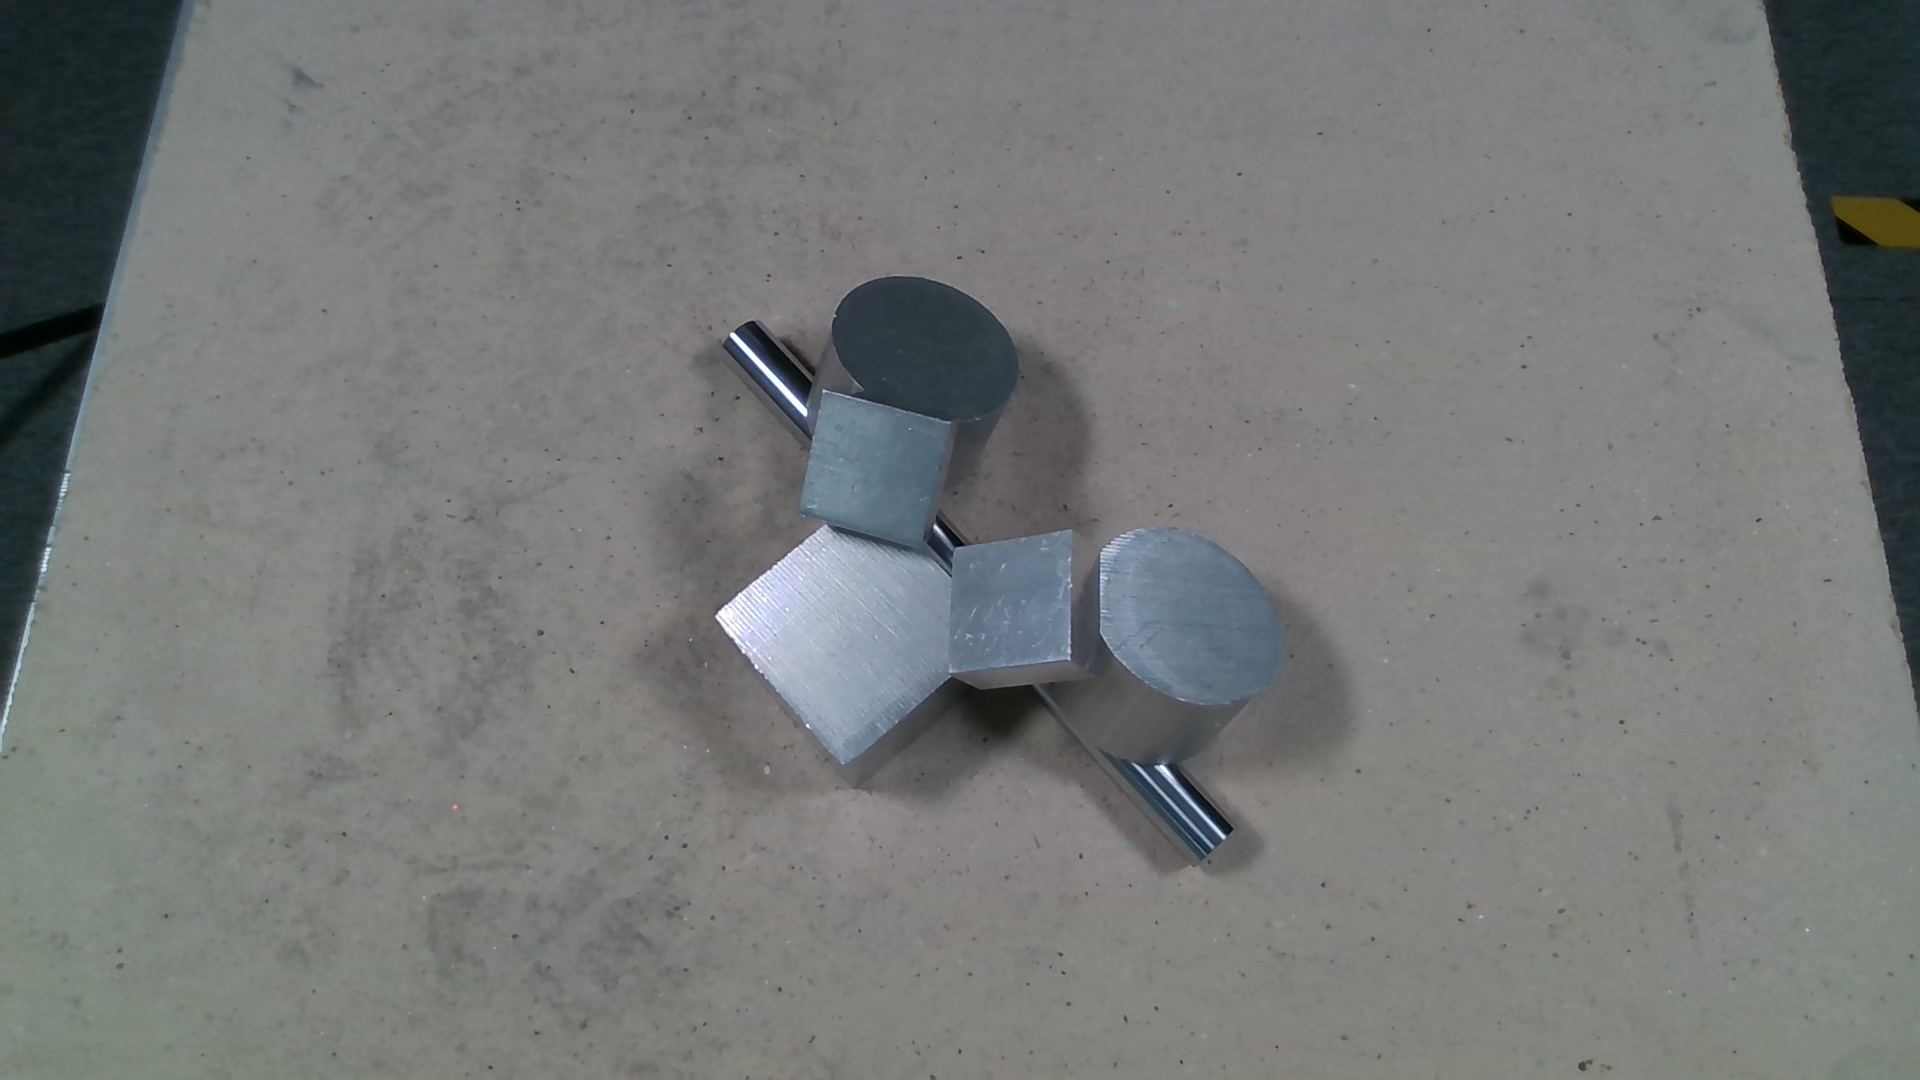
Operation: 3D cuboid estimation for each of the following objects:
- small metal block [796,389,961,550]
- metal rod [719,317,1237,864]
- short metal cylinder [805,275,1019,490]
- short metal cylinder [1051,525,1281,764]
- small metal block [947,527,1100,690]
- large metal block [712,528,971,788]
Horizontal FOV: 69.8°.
[{"bbox_3d":[-0.031,-0.029,0.533,0.050,0.025,0.050,15,103,6],"label":"small metal block"},{"bbox_3d":[0.001,0.015,0.583,0.025,0.025,0.300,-40,75,-13],"label":"metal rod"},{"bbox_3d":[-0.021,-0.066,0.583,0.080,0.050,0.080,11,52,-14],"label":"short metal cylinder"},{"bbox_3d":[0.079,0.041,0.545,0.080,0.050,0.080,11,52,-14],"label":"short metal cylinder"},{"bbox_3d":[0.024,0.026,0.512,0.050,0.025,0.050,-9,67,29],"label":"small metal block"},{"bbox_3d":[-0.040,0.041,0.559,0.080,0.050,0.080,-40,75,-13],"label":"large metal block"}]
